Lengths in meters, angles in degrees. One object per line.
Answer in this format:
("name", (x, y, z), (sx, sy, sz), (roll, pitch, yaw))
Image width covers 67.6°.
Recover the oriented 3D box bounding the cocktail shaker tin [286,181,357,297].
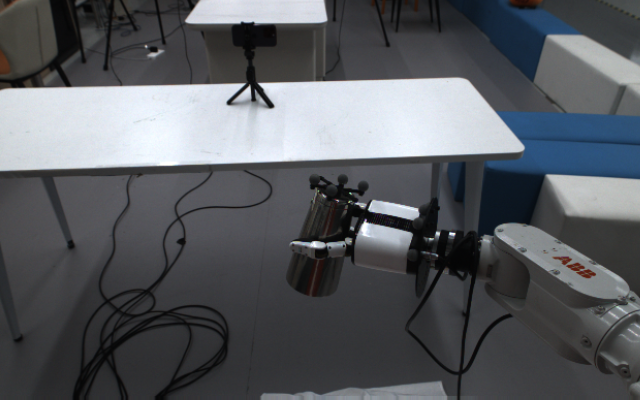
("cocktail shaker tin", (0.007, 0.063, 0.800), (0.093, 0.170, 0.093), (12, 24, -5))
